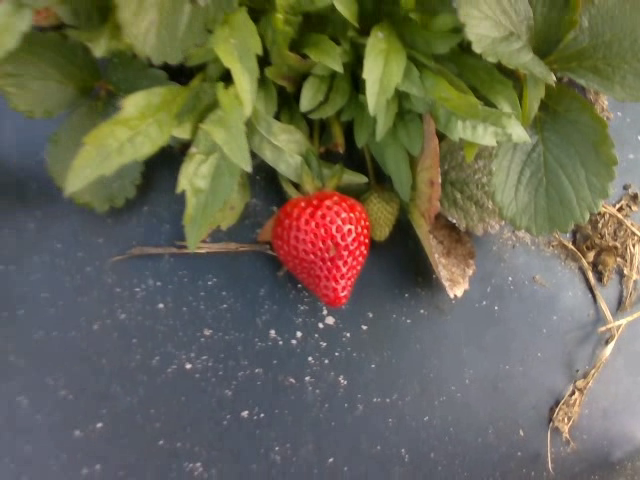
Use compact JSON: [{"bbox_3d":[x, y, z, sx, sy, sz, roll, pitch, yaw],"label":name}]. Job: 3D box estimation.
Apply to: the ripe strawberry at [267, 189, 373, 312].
[{"bbox_3d":[0.000,0.004,0.210,0.043,0.050,0.042,-10,-13,-11],"label":"ripe strawberry"}]
